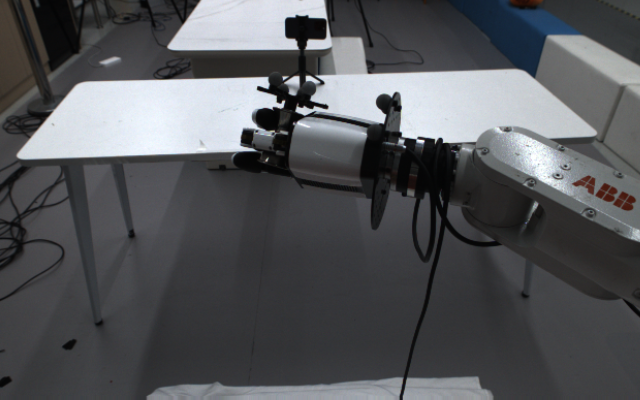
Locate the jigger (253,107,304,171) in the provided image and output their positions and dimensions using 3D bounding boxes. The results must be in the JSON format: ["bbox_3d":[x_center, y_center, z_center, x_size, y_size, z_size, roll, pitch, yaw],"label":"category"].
[{"bbox_3d":[-0.046,-0.074,0.587,0.043,0.071,0.043,17,2,-1],"label":"jigger"}]
